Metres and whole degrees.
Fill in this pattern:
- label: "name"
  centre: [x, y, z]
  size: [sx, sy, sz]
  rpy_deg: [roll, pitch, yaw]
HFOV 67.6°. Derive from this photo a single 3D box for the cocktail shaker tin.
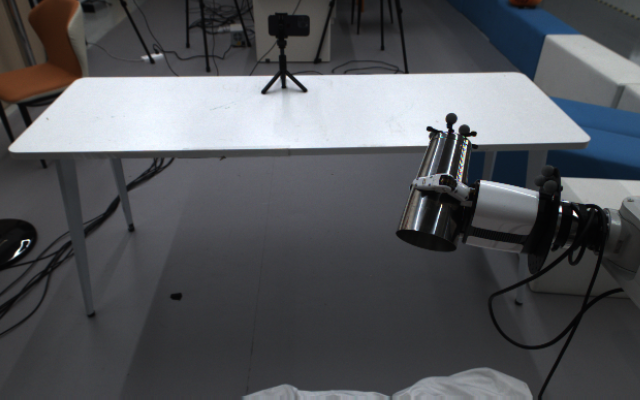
- label: "cocktail shaker tin"
  centre: [0.184, -0.015, 0.748]
  size: [0.093, 0.093, 0.170]
  rpy_deg: [14, 73, 16]
